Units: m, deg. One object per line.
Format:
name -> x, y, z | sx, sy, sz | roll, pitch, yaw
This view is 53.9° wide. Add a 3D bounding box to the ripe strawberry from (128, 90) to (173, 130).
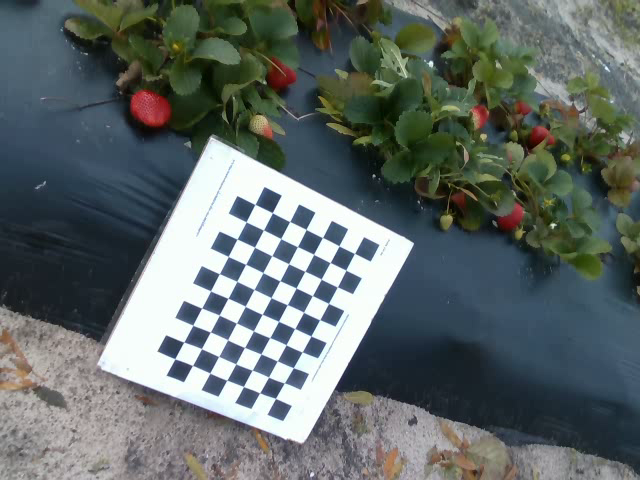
ripe strawberry -> -0.151, -0.116, 0.548 | 0.037, 0.046, 0.037 | -17, -34, -5
